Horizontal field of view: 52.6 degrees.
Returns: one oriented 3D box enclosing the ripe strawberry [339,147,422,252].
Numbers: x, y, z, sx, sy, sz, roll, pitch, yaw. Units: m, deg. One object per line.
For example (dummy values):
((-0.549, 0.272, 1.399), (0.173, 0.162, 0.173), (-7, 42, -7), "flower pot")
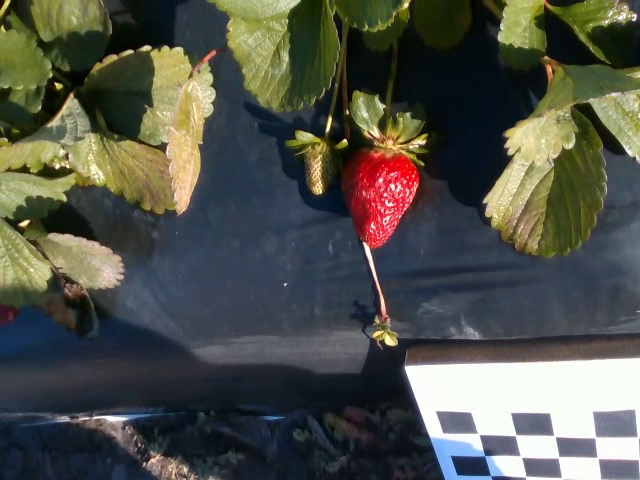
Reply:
((0.029, -0.020, 0.303), (0.041, 0.053, 0.043), (1, -5, 13), "ripe strawberry")
